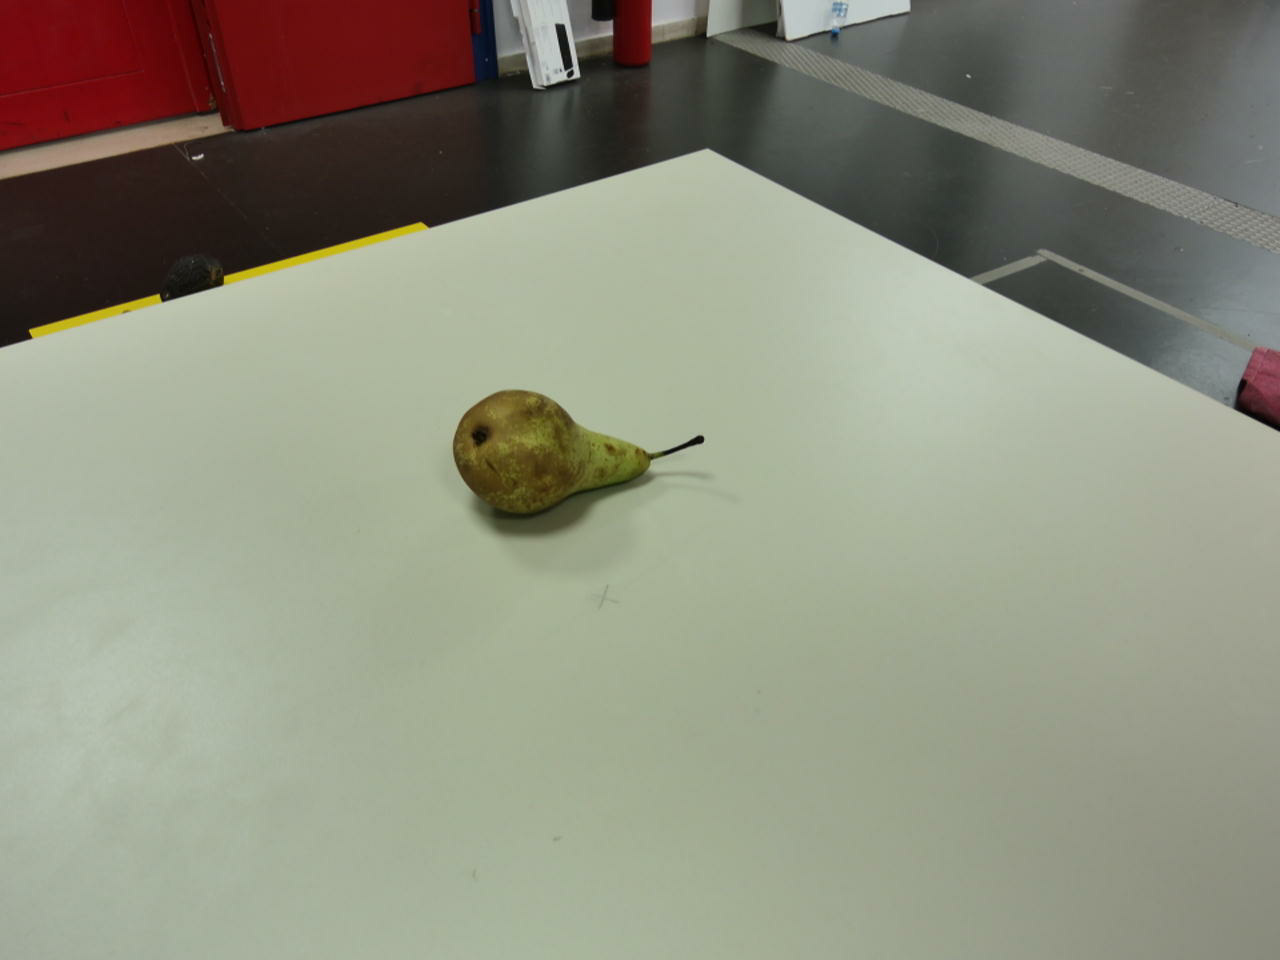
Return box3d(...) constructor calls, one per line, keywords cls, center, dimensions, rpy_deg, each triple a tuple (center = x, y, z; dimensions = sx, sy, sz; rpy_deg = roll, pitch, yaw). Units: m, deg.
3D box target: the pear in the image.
box3d(cls="pear", center=(-0.040, -0.026, 0.591), dimensions=(0.144, 0.075, 0.071), rpy_deg=(-20, 42, -23))
